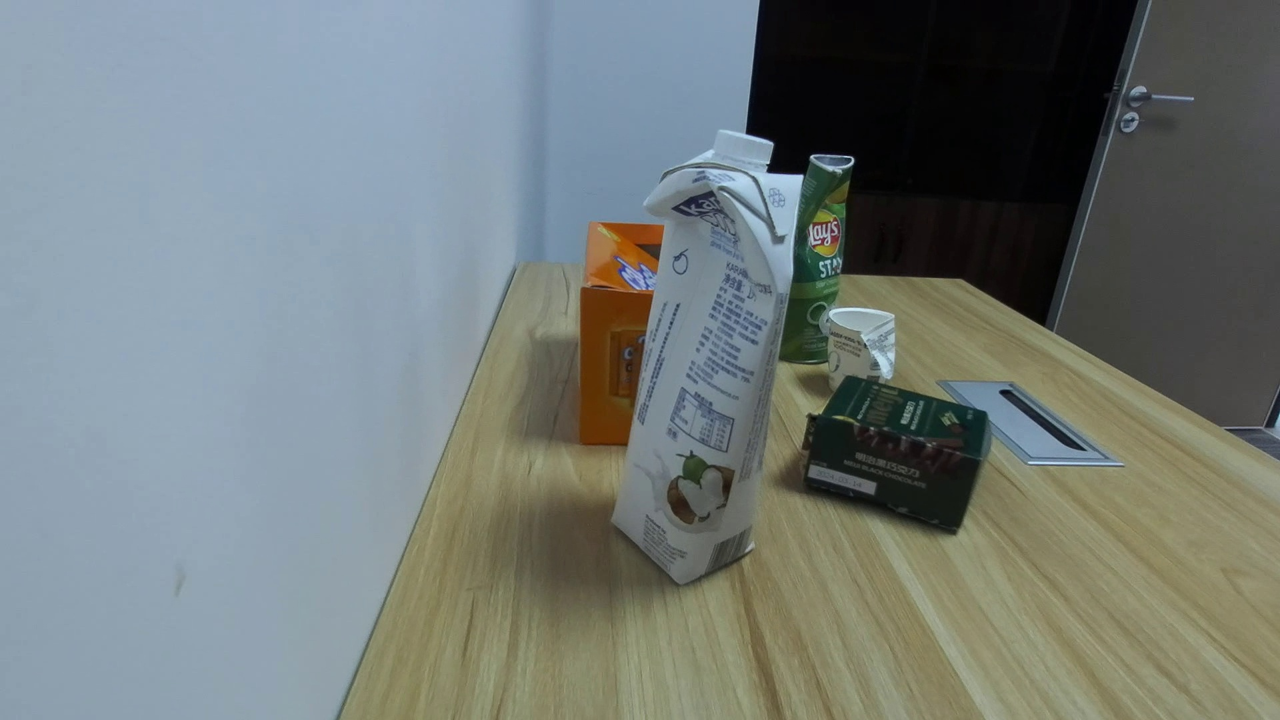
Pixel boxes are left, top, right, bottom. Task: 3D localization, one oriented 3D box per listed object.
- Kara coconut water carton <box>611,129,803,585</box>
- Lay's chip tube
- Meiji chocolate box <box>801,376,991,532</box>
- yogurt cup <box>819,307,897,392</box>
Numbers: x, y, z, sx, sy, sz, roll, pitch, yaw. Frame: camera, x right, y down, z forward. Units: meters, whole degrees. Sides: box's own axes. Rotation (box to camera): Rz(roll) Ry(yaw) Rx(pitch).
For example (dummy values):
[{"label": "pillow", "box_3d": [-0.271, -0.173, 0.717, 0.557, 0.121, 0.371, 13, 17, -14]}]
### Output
[{"label": "Kara coconut water carton", "box_3d": [0.037, 0.000, 0.389, 0.070, 0.238, 0.114, -11, 26, -35]}, {"label": "Lay's chip tube", "box_3d": [0.175, -0.100, 0.708, 0.069, 0.201, 0.077, 1, 25, -3]}, {"label": "Meiji chocolate box", "box_3d": [0.187, 0.062, 0.512, 0.122, 0.058, 0.116, 15, 22, 23]}, {"label": "yogurt cup", "box_3d": [0.202, -0.006, 0.651, 0.067, 0.070, 0.067, 1, 23, 0]}]
